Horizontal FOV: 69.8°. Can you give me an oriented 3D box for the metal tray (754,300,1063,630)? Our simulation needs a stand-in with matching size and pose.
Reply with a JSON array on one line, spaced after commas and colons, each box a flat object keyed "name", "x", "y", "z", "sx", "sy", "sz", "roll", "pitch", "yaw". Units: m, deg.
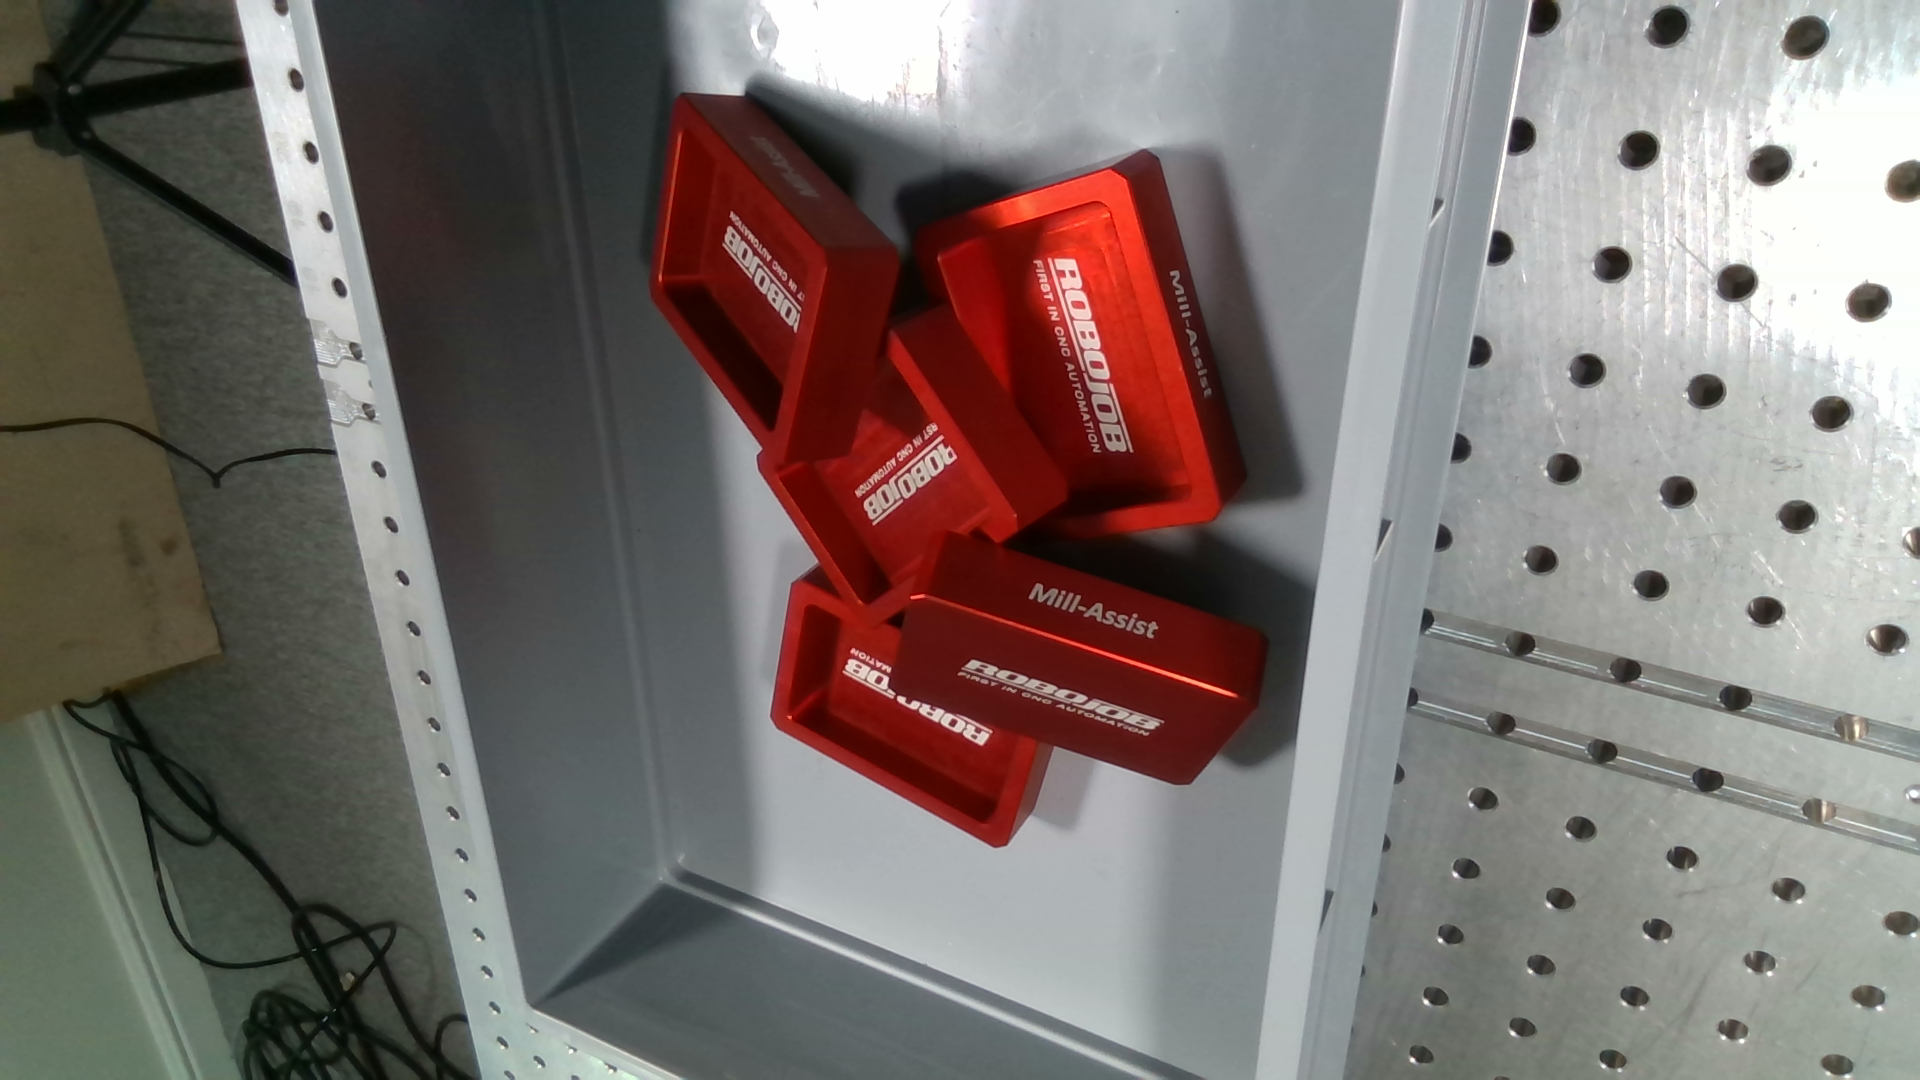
[{"name": "metal tray", "x": -0.025, "y": -0.026, "z": 0.549, "sx": 0.090, "sy": 0.030, "sz": 0.130, "roll": 57, "pitch": 144, "yaw": 2}]

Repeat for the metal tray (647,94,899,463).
[{"name": "metal tray", "x": -0.076, "y": -0.102, "z": 0.528, "sx": 0.130, "sy": 0.030, "sz": 0.090, "roll": 50, "pitch": 136, "yaw": 37}]

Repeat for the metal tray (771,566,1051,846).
[{"name": "metal tray", "x": -0.021, "y": 0.072, "z": 0.627, "sx": 0.130, "sy": 0.030, "sz": 0.090, "roll": 25, "pitch": 126, "yaw": 18}]

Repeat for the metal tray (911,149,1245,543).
[{"name": "metal tray", "x": 0.044, "y": -0.068, "z": 0.511, "sx": 0.090, "sy": 0.030, "sz": 0.130, "roll": -7, "pitch": 111, "yaw": 34}]

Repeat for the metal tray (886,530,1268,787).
[{"name": "metal tray", "x": 0.041, "y": 0.048, "z": 0.532, "sx": 0.130, "sy": 0.030, "sz": 0.090, "roll": 18, "pitch": 149, "yaw": 0}]
